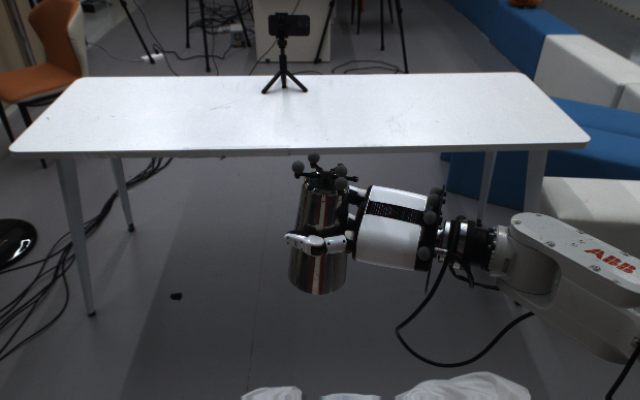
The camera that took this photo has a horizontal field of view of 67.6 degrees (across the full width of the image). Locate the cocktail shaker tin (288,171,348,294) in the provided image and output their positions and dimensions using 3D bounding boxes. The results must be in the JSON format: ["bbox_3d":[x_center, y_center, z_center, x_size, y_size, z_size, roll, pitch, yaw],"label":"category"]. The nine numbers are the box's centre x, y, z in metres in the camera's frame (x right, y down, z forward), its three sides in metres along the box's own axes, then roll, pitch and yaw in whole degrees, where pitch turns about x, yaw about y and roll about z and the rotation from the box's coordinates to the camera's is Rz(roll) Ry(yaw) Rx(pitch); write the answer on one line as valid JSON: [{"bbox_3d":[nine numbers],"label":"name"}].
[{"bbox_3d":[0.002,0.045,0.719,0.093,0.170,0.093,4,32,-2],"label":"cocktail shaker tin"}]
